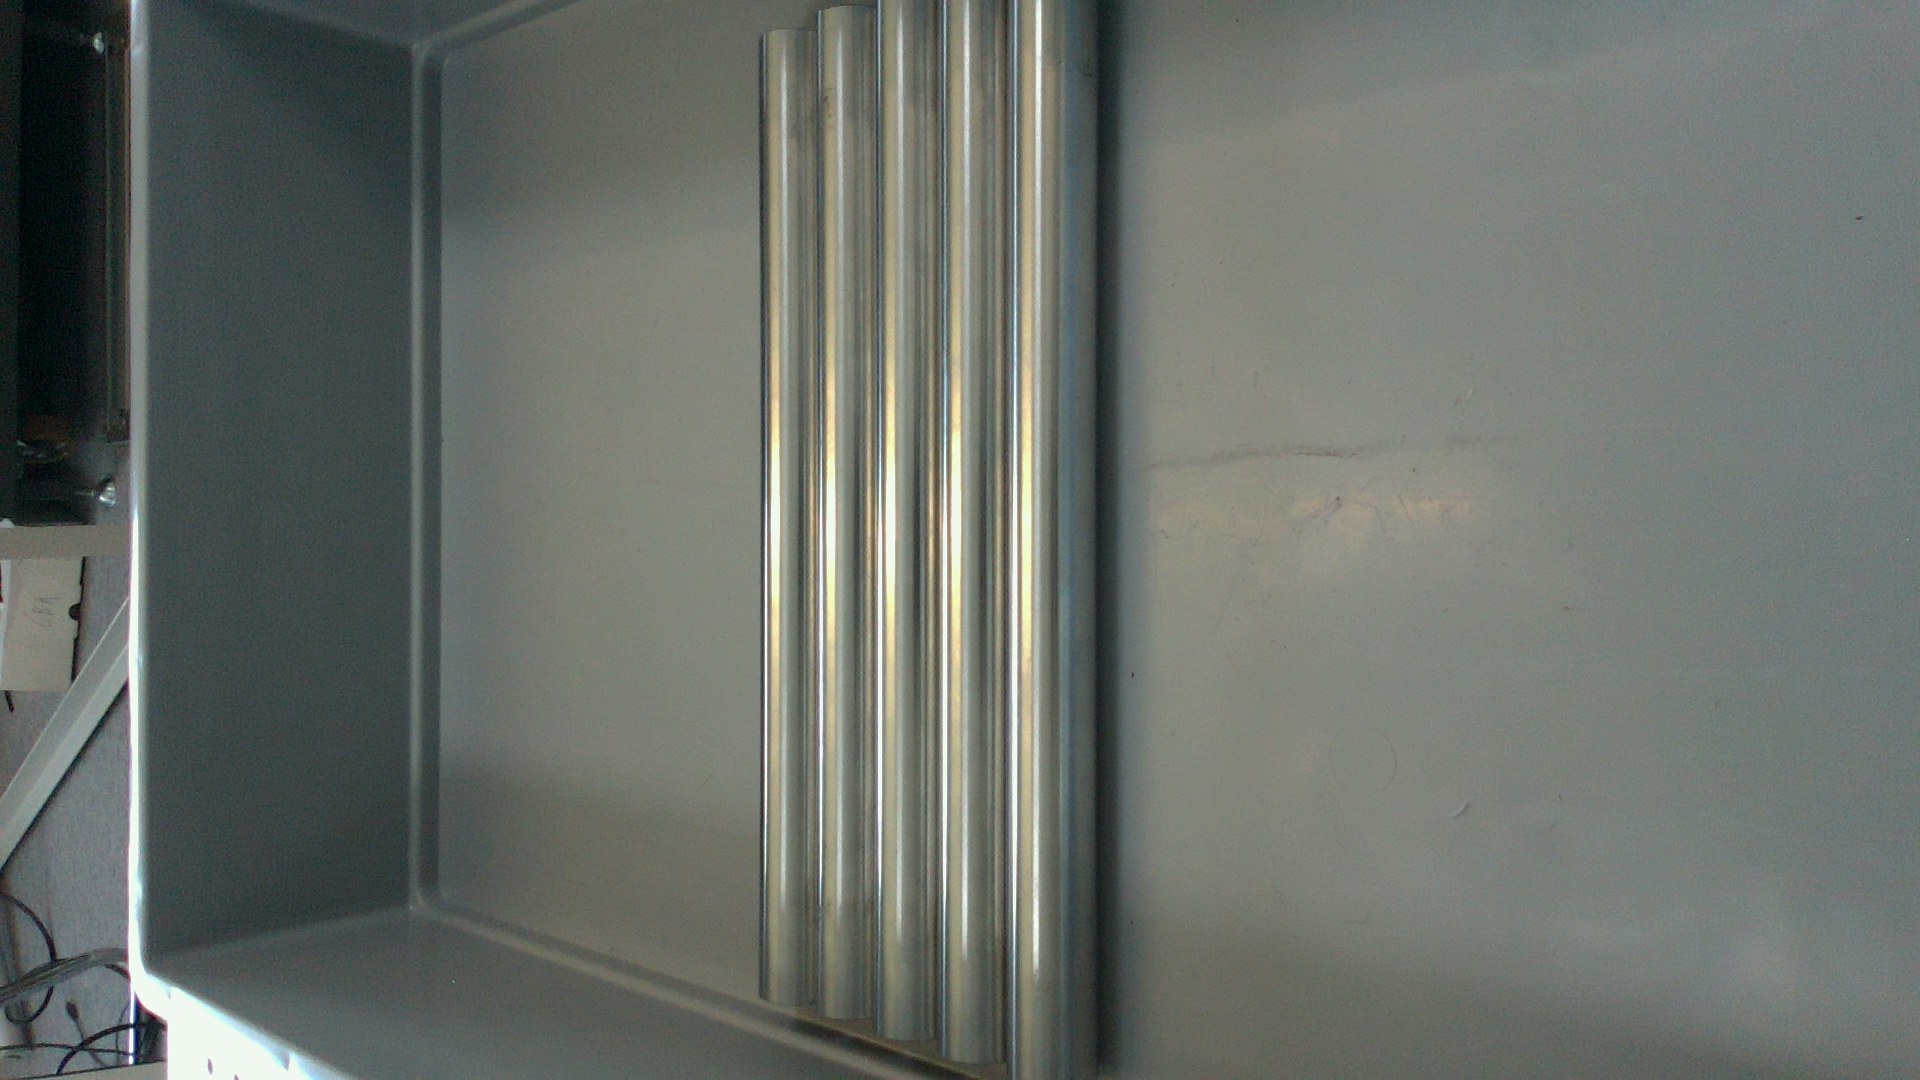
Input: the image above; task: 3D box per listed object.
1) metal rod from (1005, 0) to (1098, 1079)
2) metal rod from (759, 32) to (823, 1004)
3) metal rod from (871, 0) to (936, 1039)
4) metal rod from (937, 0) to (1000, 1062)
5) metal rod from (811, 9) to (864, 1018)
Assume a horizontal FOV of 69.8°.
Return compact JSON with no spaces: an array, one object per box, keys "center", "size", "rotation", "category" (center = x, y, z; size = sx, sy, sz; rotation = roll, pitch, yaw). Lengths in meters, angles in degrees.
[{"center":[0.025,-0.006,0.373],"size":[0.025,0.025,0.300],"rotation":[0,90,40],"category":"metal rod"},{"center":[-0.051,-0.007,0.437],"size":[0.025,0.025,0.300],"rotation":[0,90,40],"category":"metal rod"},{"center":[-0.014,-0.007,0.405],"size":[0.025,0.025,0.300],"rotation":[0,90,40],"category":"metal rod"},{"center":[0.006,-0.007,0.389],"size":[0.025,0.025,0.300],"rotation":[0,90,40],"category":"metal rod"},{"center":[-0.033,-0.008,0.422],"size":[0.025,0.025,0.300],"rotation":[0,90,40],"category":"metal rod"}]
